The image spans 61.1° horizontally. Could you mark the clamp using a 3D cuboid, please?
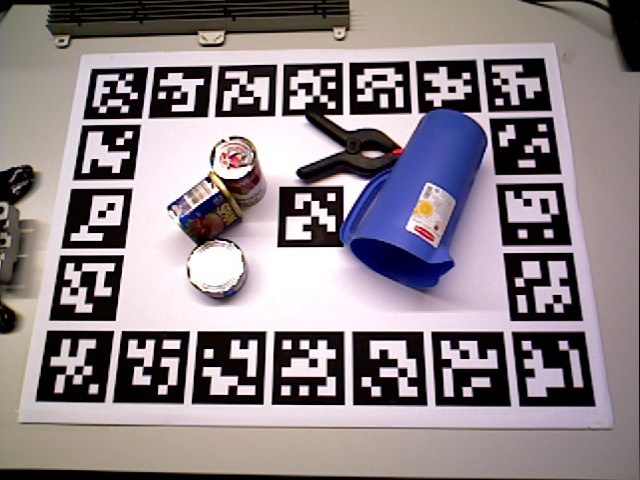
[{"bbox_3d":[0.029,-0.141,0.861,0.164,0.037,0.120,3,69,1],"label":"clamp"}]

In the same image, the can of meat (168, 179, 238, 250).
[{"bbox_3d":[-0.177,-0.036,0.793,0.083,0.102,0.057,-35,74,-5],"label":"can of meat"}]

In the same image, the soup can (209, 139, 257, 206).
[{"bbox_3d":[-0.129,-0.099,0.814,0.068,0.103,0.067,-2,73,4],"label":"soup can"}]

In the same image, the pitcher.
[{"bbox_3d":[0.137,-0.057,0.764,0.190,0.134,0.239,13,64,30],"label":"pitcher"}]

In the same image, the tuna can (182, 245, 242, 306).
[{"bbox_3d":[-0.158,0.053,0.803,0.085,0.034,0.085,-1,74,3],"label":"tuna can"}]
